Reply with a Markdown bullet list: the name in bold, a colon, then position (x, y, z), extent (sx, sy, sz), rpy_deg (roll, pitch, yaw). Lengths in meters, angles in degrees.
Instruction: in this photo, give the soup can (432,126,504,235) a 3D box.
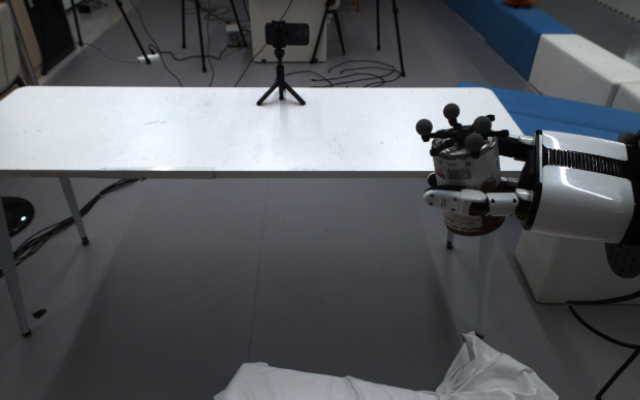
- **soup can**: position (0.163, -0.022, 0.526), extent (0.067, 0.101, 0.067), rpy_deg (-13, 31, 8)
